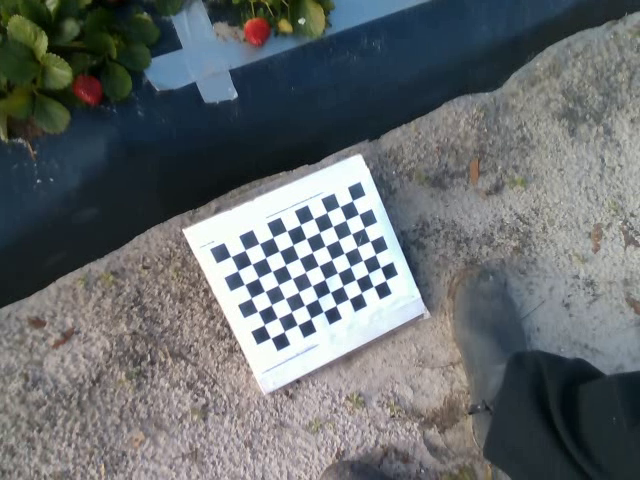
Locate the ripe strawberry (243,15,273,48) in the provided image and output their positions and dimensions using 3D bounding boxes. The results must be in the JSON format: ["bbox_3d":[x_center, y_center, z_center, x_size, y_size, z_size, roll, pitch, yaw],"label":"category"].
[{"bbox_3d":[-0.043,-0.149,0.528,0.023,0.026,0.021,-16,-39,6],"label":"ripe strawberry"}]

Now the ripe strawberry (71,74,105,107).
[{"bbox_3d":[-0.144,-0.100,0.487,0.018,0.023,0.021,-33,-22,0],"label":"ripe strawberry"}]
